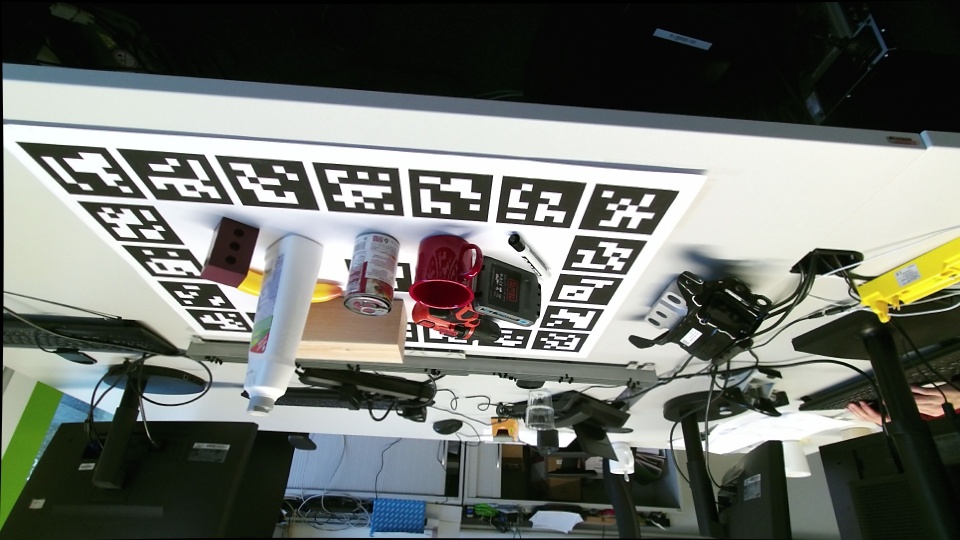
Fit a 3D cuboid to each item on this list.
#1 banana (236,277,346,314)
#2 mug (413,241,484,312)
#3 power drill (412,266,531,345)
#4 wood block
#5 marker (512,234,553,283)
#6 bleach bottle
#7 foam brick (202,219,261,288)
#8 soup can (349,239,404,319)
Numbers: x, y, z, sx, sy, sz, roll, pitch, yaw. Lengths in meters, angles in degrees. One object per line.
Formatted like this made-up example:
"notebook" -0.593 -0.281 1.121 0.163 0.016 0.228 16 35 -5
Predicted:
"banana" -0.315 0.043 0.895 0.198 0.038 0.074 14 134 -14
"mug" -0.039 0.007 0.774 0.117 0.081 0.093 -27 136 35
"power drill" 0.000 0.069 0.910 0.185 0.057 0.187 23 145 -24
"wood block" -0.240 0.112 0.963 0.207 0.090 0.090 3 148 -1
"marker" 0.078 -0.016 0.792 0.020 0.019 0.121 -15 144 22
"bleach bottle" -0.278 0.081 0.755 0.068 0.249 0.103 20 146 -27
"foam brick" -0.351 -0.023 0.758 0.053 0.077 0.051 21 147 -32
"soup can" -0.149 0.015 0.767 0.068 0.101 0.068 4 153 2
